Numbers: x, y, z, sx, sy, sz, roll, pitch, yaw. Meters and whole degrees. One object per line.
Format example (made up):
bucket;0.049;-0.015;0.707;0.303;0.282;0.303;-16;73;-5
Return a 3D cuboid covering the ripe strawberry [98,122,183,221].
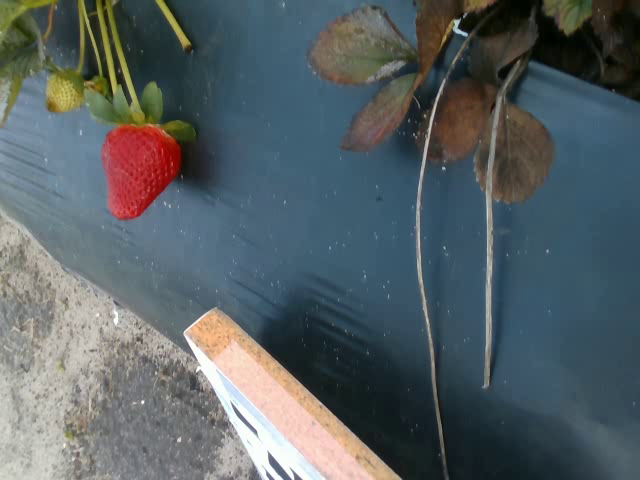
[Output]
ripe strawberry;-0.091;-0.033;0.304;0.042;0.055;0.045;27;-14;-15
